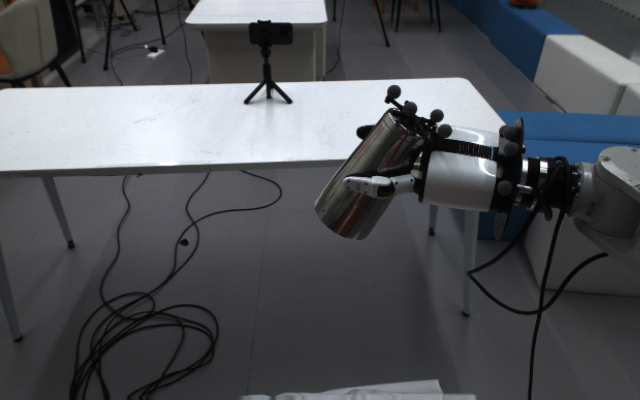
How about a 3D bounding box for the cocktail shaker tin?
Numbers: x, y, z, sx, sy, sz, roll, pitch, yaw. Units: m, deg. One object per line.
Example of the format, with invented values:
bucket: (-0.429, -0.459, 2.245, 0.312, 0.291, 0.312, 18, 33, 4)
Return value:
cocktail shaker tin: (0.074, -0.041, 0.659, 0.093, 0.170, 0.093, 26, 32, -18)
